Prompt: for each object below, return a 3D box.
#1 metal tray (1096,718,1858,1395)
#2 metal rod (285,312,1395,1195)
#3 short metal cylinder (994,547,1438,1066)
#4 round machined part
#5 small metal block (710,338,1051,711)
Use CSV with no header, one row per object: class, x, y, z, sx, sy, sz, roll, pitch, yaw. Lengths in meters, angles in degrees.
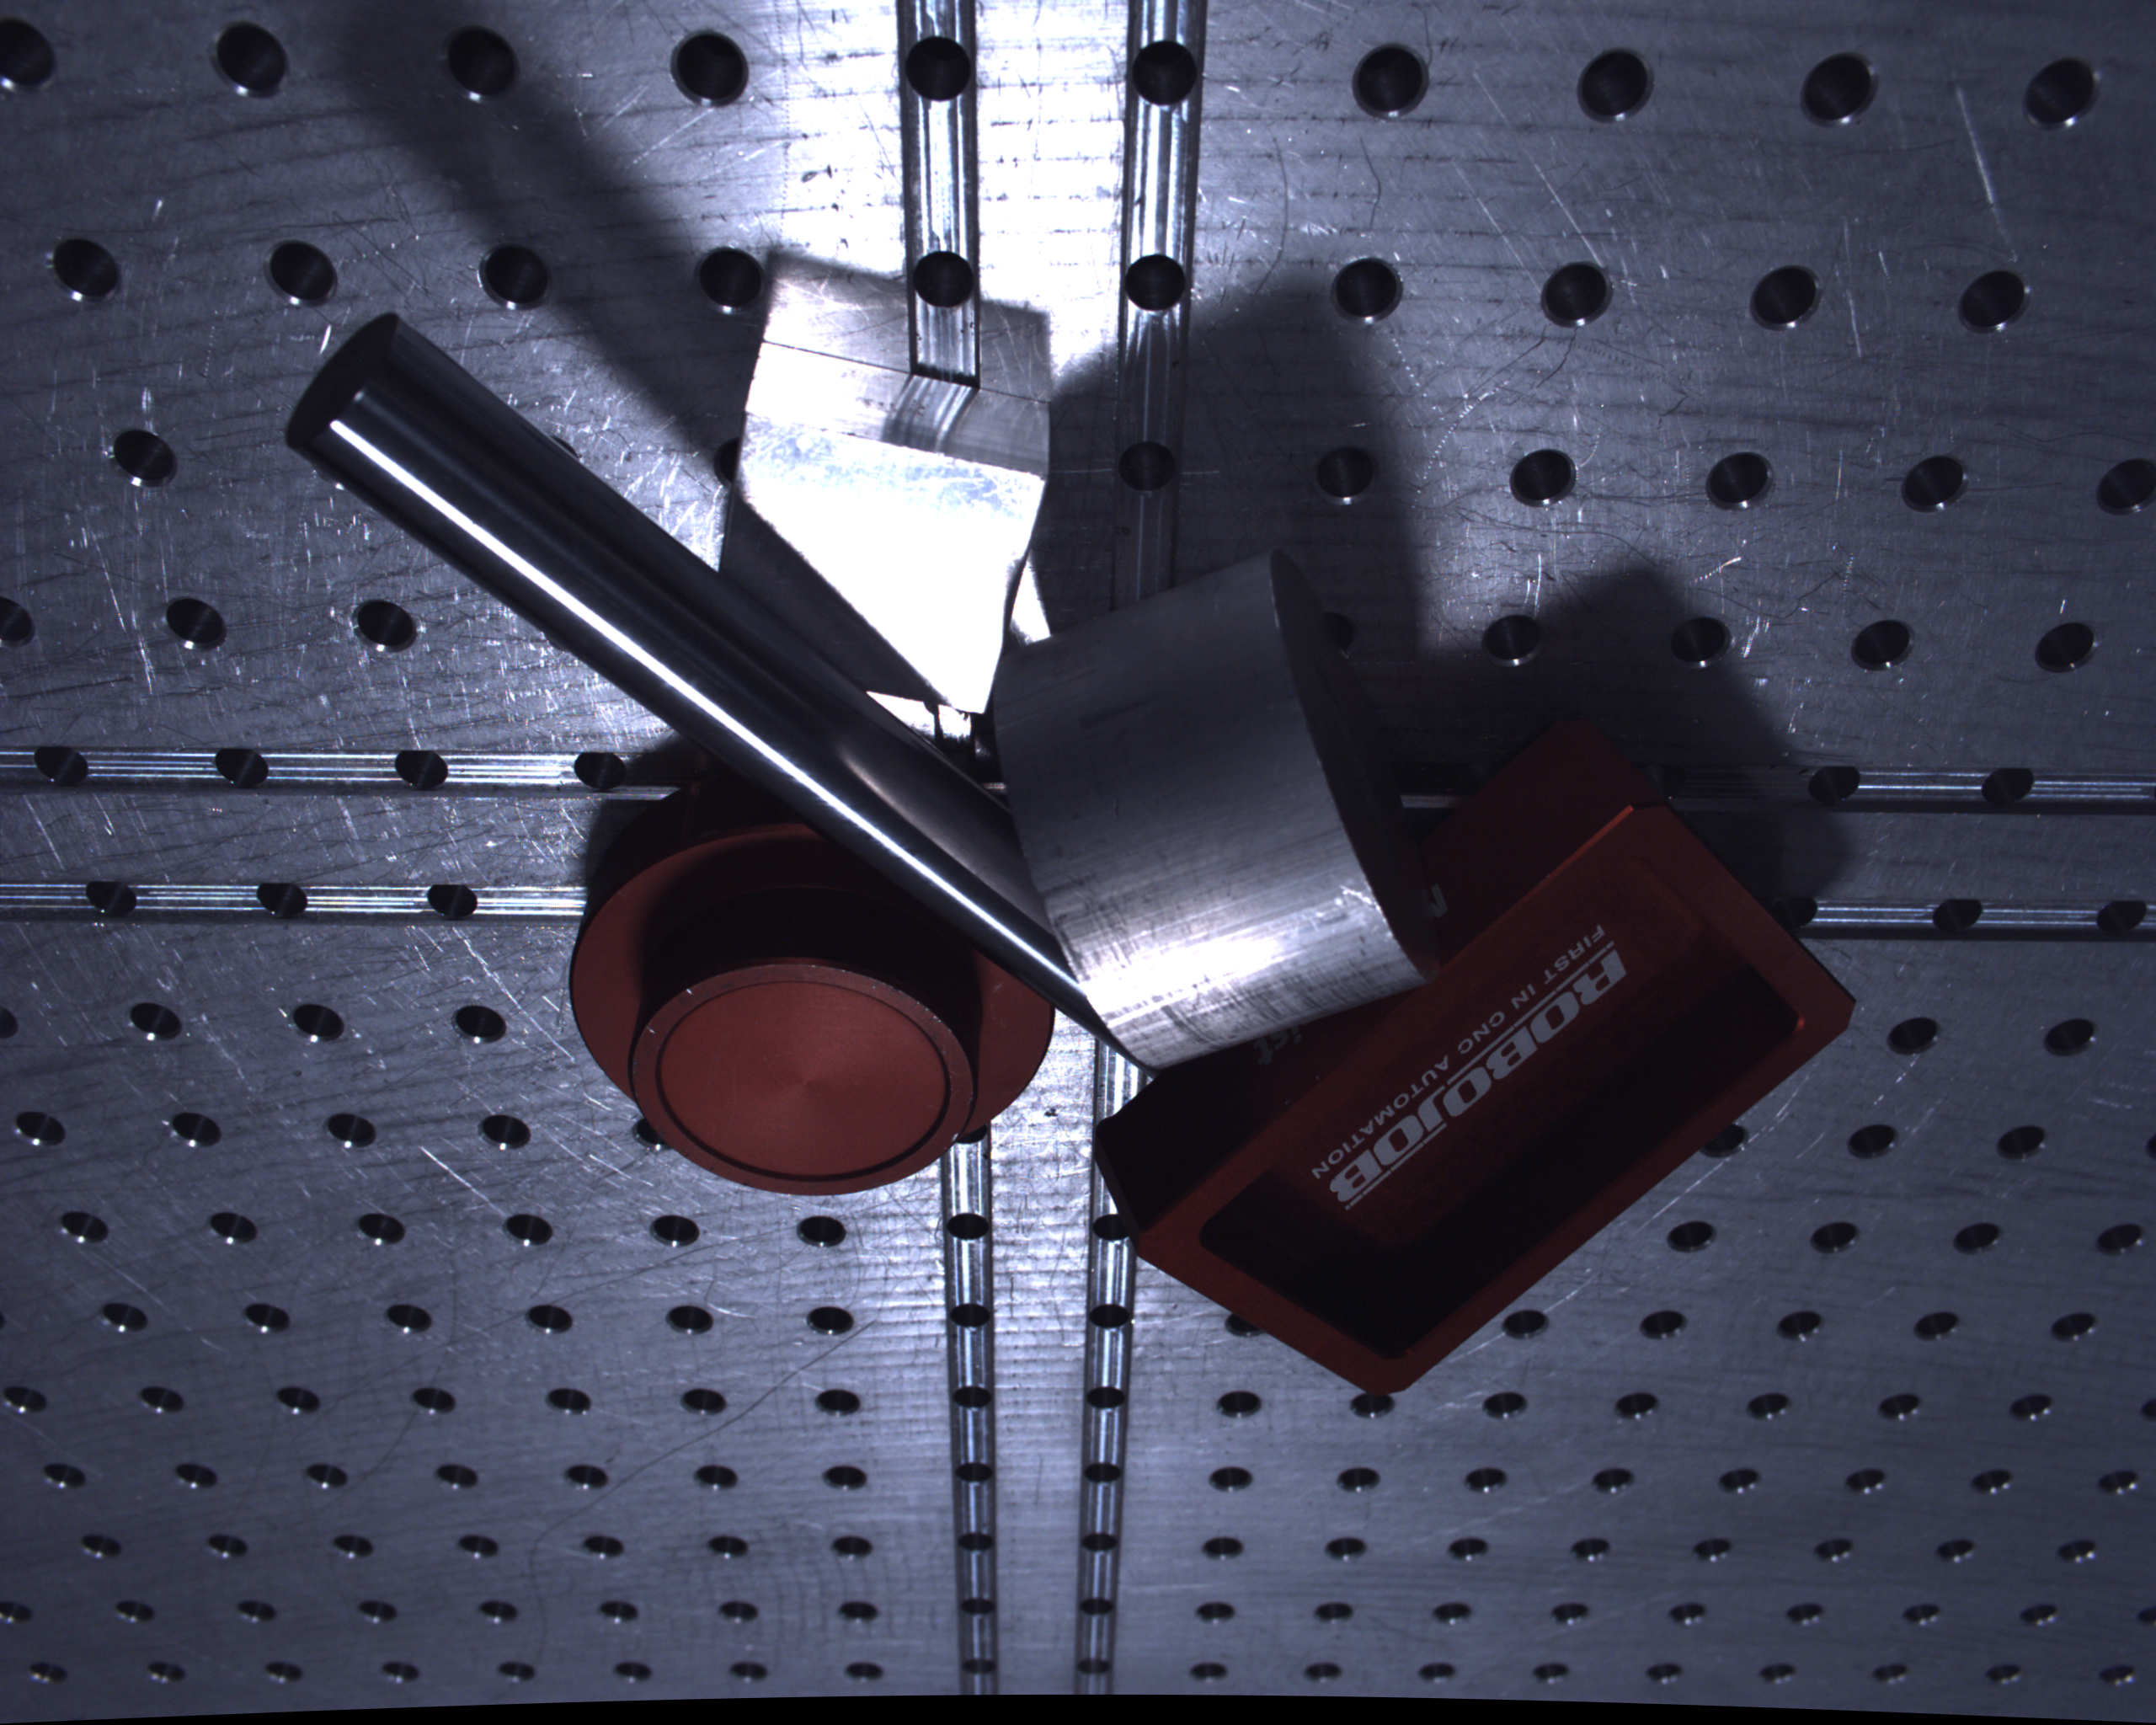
metal tray,0.080,0.043,0.419,0.130,0.030,0.090,-43,127,12
metal rod,-0.012,0.004,0.393,0.025,0.025,0.301,-32,131,24
short metal cylinder,0.026,-0.009,0.368,0.050,0.080,0.080,-20,128,15
round machined part,-0.054,0.031,0.425,0.099,0.042,0.097,-1,130,0
small metal block,-0.035,-0.058,0.362,0.050,0.025,0.050,10,129,-9
